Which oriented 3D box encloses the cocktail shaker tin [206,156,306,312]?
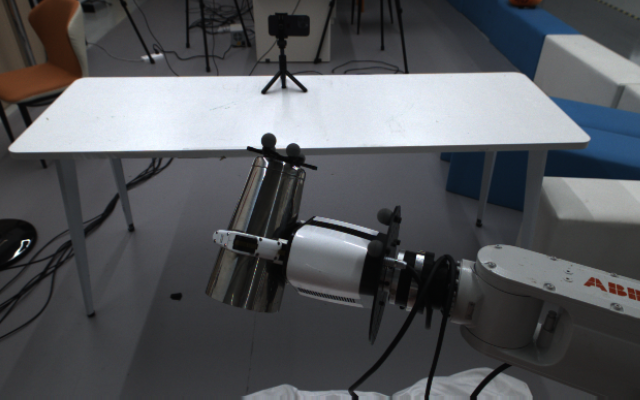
[{"bbox_3d":[-0.069,0.040,0.584,0.093,0.170,0.093,15,-4,1],"label":"cocktail shaker tin"}]
